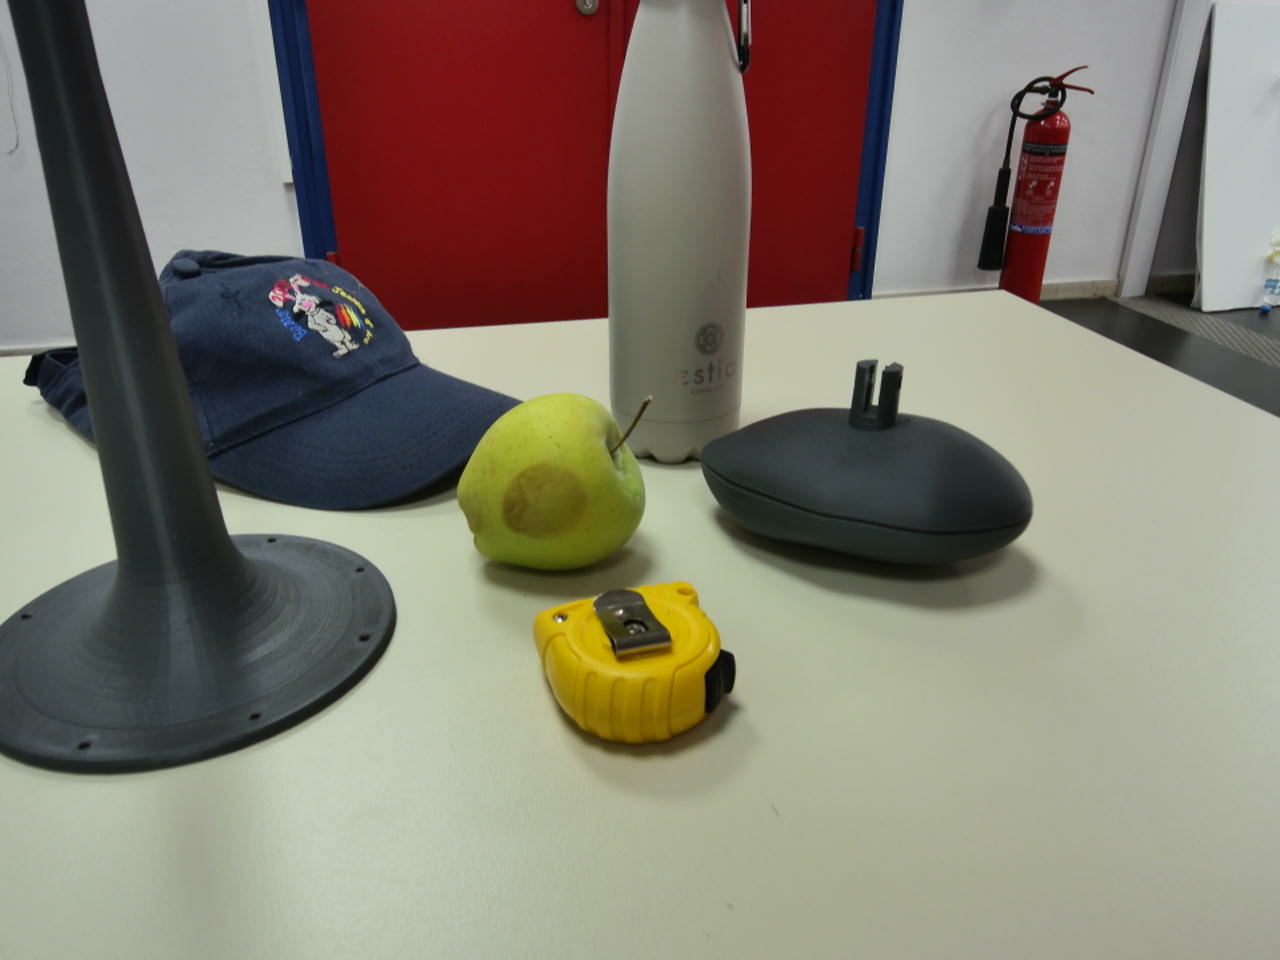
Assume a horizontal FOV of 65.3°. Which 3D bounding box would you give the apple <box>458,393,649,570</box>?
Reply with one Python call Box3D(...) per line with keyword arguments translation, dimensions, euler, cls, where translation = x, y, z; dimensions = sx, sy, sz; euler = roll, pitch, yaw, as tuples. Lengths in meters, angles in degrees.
Box3D(translation=(-0.036, 0.000, 0.428), dimensions=(0.077, 0.075, 0.072), euler=(15, 28, 28), cls="apple")
